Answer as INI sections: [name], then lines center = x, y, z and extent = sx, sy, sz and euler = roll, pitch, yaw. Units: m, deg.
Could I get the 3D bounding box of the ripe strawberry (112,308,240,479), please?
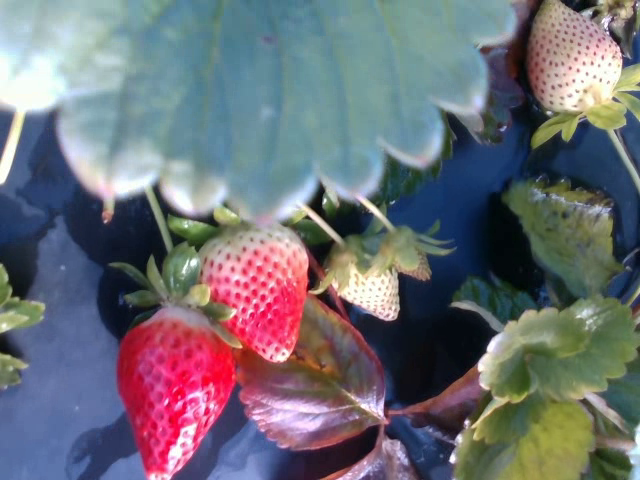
[ripe strawberry]
center = -0.050, 0.050, 0.195
extent = 0.044, 0.055, 0.041
euler = -7, -26, 23
